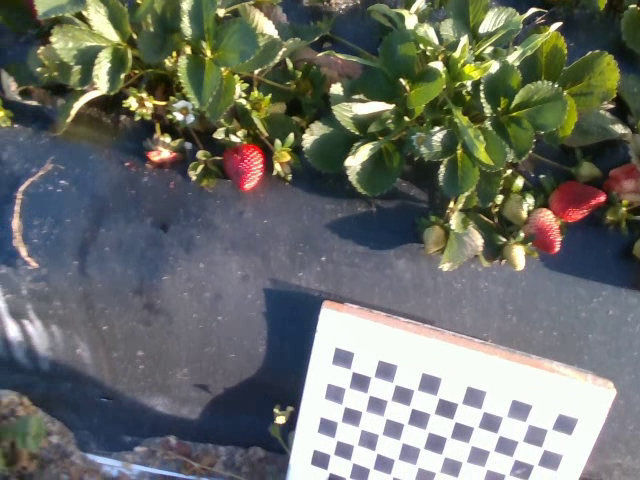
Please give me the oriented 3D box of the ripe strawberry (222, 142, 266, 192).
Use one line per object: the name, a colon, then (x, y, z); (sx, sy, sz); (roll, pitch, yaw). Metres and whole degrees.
ripe strawberry: (-0.080, -0.070, 0.598); (0.052, 0.052, 0.041); (-14, -41, 14)
